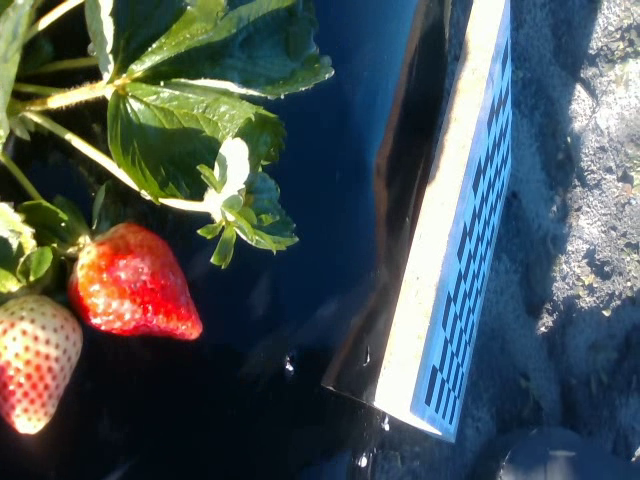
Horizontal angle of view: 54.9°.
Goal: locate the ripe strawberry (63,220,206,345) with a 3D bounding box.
[{"bbox_3d":[-0.054,0.018,0.203,0.055,0.040,0.037,38,11,16],"label":"ripe strawberry"}]
